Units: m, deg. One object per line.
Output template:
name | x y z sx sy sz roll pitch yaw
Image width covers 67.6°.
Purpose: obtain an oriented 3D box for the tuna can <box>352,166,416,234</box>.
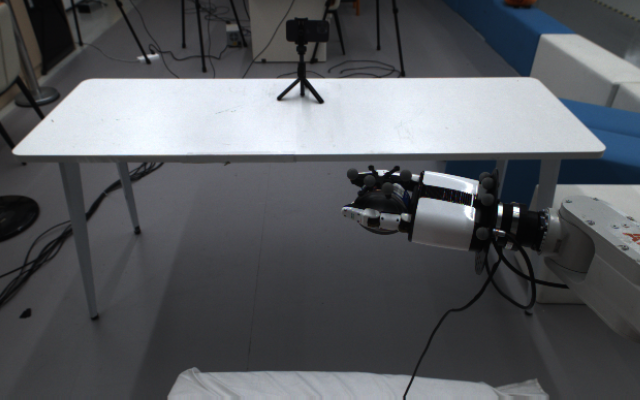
tuna can | 0.097 0.009 0.743 0.085 0.085 0.034 11 39 13
